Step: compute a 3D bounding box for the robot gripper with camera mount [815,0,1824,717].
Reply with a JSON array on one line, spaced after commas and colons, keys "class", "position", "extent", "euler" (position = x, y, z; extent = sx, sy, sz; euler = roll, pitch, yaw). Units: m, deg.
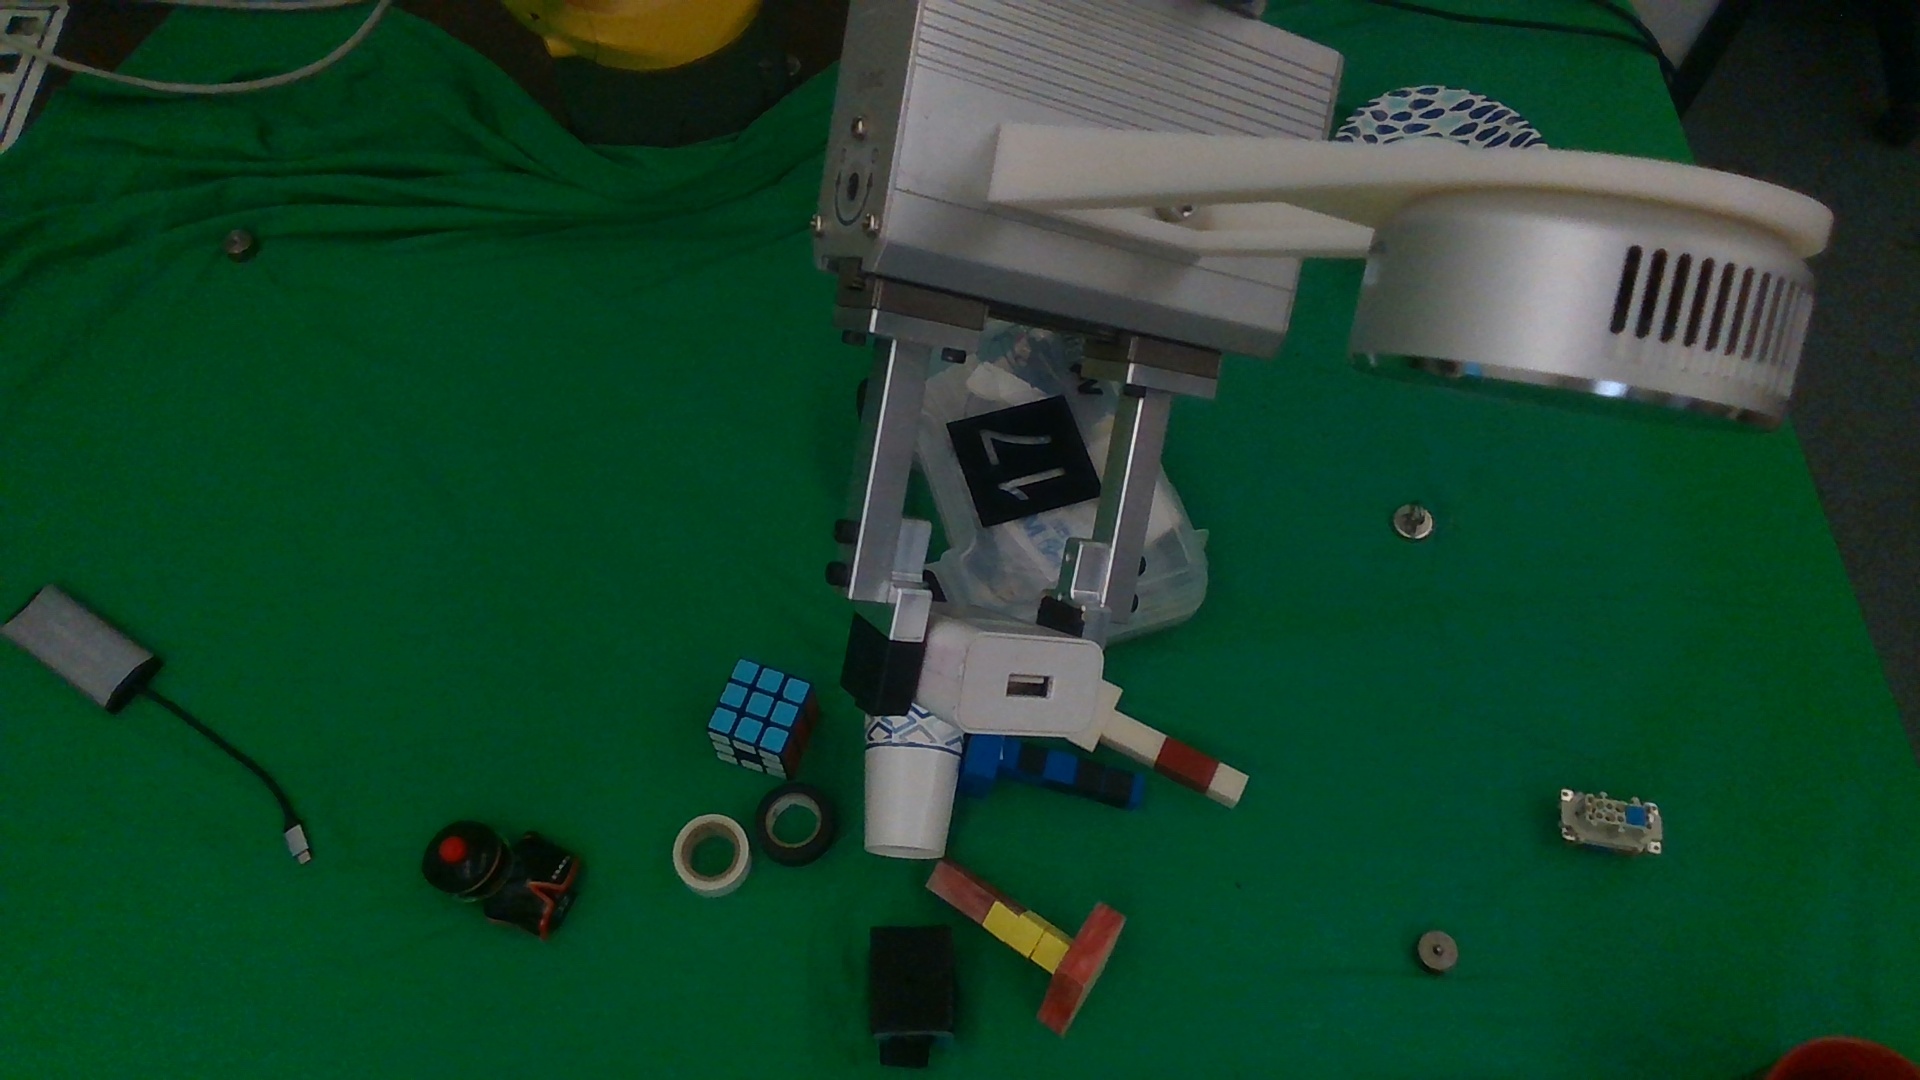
[{"class": "robot gripper with camera mount", "position": [0.061, -0.028, 0.268], "extent": [0.118, 0.194, 0.158], "euler": [6, 94, -32]}]

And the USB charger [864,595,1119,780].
[{"class": "USB charger", "position": [0.003, 0.032, 0.344], "extent": [0.044, 0.076, 0.029], "euler": [16, 94, -25]}]
